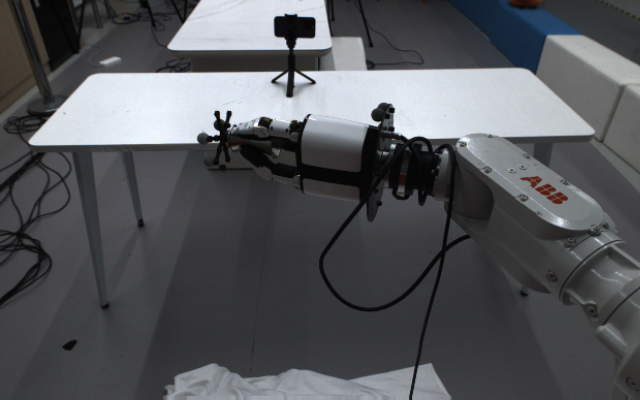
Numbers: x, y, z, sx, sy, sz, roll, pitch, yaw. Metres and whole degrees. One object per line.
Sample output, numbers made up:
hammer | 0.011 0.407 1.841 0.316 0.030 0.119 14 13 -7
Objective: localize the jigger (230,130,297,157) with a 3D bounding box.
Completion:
jigger | -0.088 -0.090 0.698 0.071 0.043 0.043 8 35 14
